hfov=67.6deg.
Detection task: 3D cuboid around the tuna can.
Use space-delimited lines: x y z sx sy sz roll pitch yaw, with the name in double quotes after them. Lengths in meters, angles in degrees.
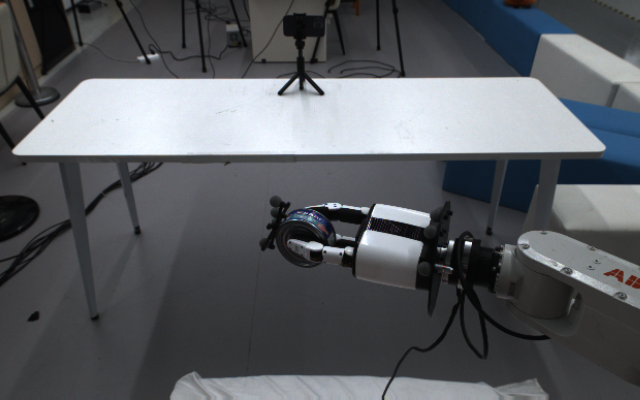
-0.019 0.060 0.710 0.085 0.085 0.034 12 30 14 "tuna can"
